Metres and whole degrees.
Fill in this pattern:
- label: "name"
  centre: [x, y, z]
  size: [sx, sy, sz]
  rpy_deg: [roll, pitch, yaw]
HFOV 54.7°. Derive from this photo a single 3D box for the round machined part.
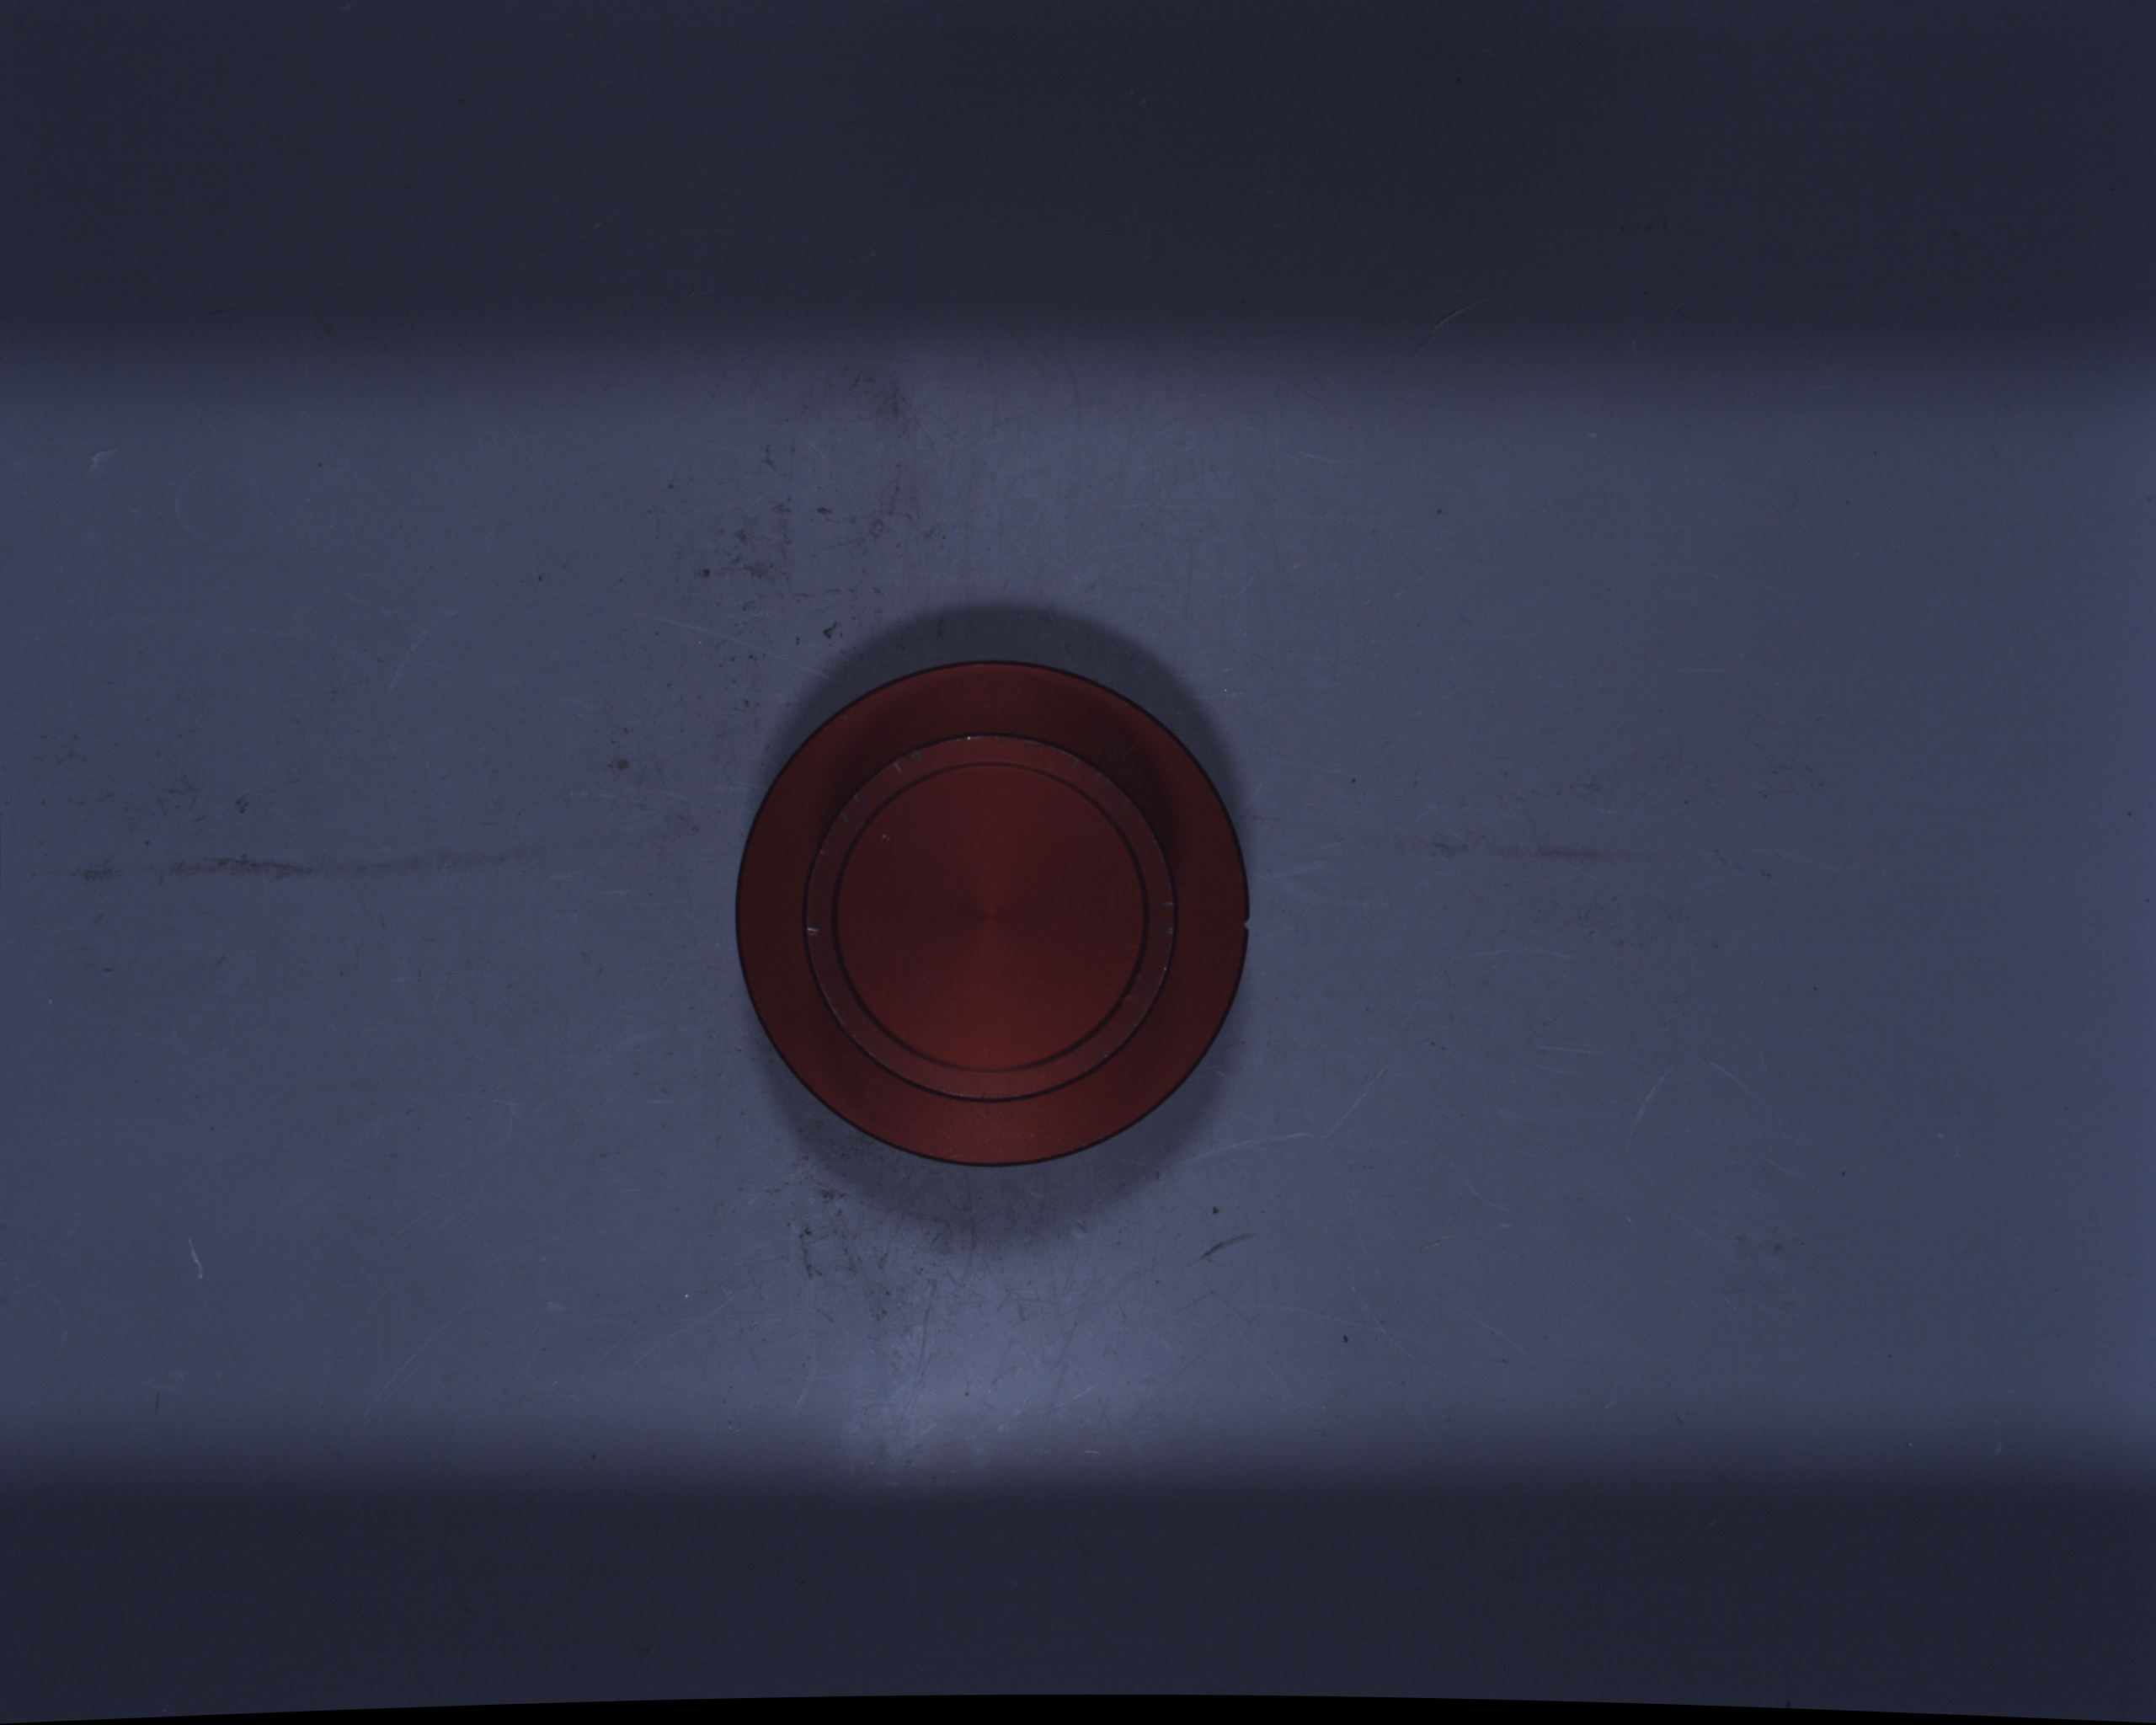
- label: "round machined part"
  centre: [-0.016, 0.010, 0.399]
  size: [0.099, 0.042, 0.097]
  rpy_deg: [0, 90, -1]
